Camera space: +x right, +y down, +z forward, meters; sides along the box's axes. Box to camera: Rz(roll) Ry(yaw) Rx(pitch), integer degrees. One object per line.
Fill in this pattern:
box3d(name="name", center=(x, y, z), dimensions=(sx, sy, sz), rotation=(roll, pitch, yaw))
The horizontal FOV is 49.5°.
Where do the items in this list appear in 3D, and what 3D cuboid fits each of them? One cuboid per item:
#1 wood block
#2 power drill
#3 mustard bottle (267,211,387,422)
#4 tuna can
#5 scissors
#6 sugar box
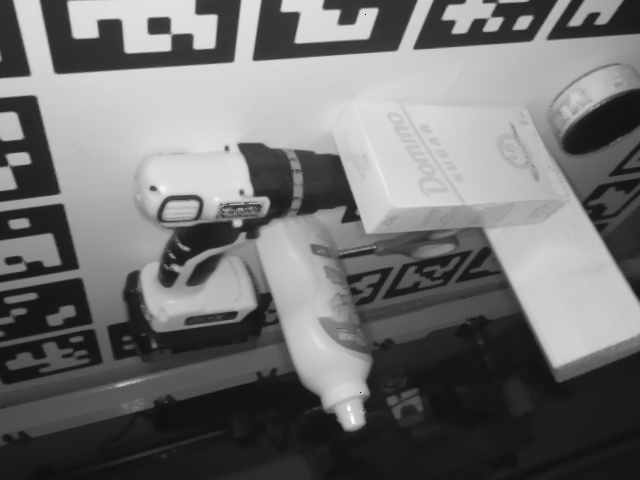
box3d(name="wood block", center=(0.227, 0.014, 0.636), dimensions=(0.091, 0.206, 0.090), rotation=(-25, 146, 7))
box3d(name="power drill", center=(-0.043, -0.003, 0.578), dimensions=(0.187, 0.057, 0.184), rotation=(-1, 136, -29))
box3d(name="mustard bottle", center=(0.012, 0.066, 0.601), dimensions=(0.058, 0.192, 0.097), rotation=(-32, 145, 17))
box3d(name="tuna can", center=(0.260, -0.114, 0.603), dimensions=(0.086, 0.034, 0.085), rotation=(-15, 146, -9))
box3d(name="scissors", center=(0.112, 0.017, 0.735), dimensions=(0.205, 0.016, 0.086), rotation=(-8, 150, -20))
box3d(name="sugar box", center=(0.109, -0.064, 0.545), dimensions=(0.179, 0.093, 0.044), rotation=(-1, 146, -26))
